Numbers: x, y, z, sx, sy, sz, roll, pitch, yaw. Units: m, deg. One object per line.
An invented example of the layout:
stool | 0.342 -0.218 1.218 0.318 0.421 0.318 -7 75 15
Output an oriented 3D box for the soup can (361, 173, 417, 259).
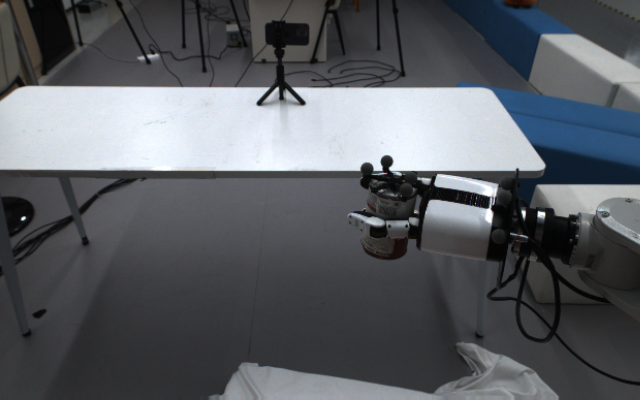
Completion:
soup can | 0.097 0.024 0.677 0.067 0.101 0.067 4 30 -2
